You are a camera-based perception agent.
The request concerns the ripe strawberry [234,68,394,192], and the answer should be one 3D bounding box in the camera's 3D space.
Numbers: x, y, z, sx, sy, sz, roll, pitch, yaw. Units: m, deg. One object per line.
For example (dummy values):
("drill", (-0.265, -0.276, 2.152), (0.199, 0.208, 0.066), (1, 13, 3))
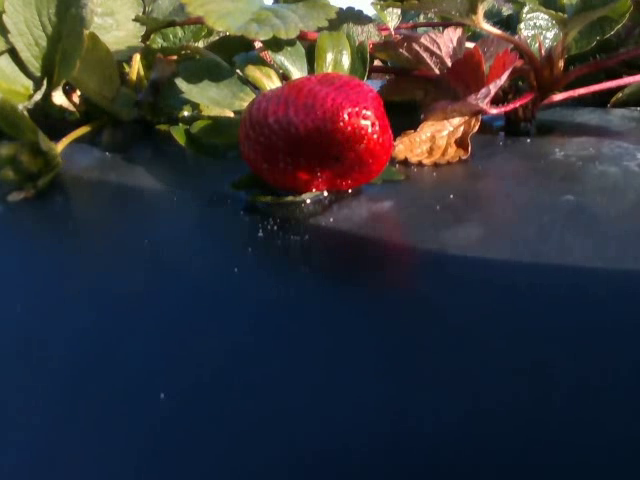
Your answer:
("ripe strawberry", (0.000, -0.027, 0.148), (0.040, 0.041, 0.056), (-37, 13, -10))
